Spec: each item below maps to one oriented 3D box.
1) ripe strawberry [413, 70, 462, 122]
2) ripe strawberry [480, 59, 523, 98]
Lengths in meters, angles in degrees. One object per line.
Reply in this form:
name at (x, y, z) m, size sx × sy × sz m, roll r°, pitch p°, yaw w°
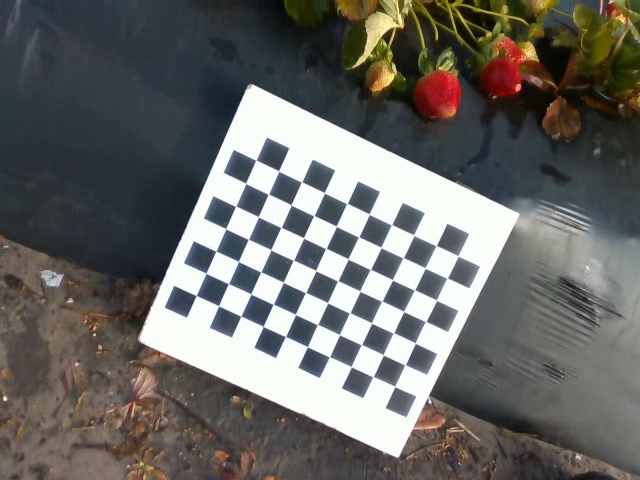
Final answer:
ripe strawberry at (0.120, -0.142, 0.604) m, size 0.050 × 0.050 × 0.065 m, roll -15°, pitch 41°, yaw 3°
ripe strawberry at (0.193, -0.167, 0.643) m, size 0.042 × 0.045 × 0.055 m, roll 48°, pitch 6°, yaw -44°
